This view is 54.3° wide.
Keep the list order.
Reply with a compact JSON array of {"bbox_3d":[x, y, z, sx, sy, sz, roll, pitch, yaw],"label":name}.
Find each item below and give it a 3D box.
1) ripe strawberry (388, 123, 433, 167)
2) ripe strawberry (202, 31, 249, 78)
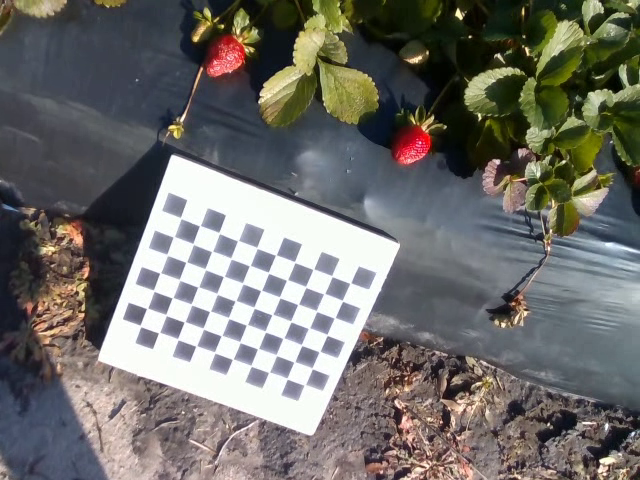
[{"bbox_3d":[0.089,-0.092,0.624,0.043,0.042,0.050,-17,22,47],"label":"ripe strawberry"},{"bbox_3d":[-0.097,-0.180,0.608,0.042,0.053,0.043,32,-33,-12],"label":"ripe strawberry"}]
